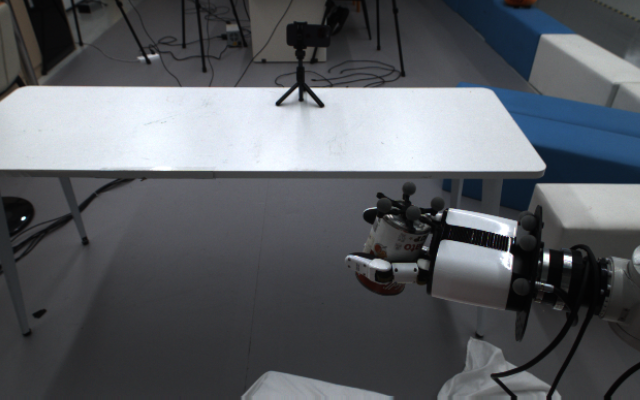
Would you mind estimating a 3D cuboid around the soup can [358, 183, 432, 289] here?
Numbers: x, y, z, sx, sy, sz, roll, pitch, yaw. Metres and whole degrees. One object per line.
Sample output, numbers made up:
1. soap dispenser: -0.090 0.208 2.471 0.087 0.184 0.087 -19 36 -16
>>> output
1. soup can: 0.092 0.059 0.603 0.067 0.101 0.067 13 30 -8
